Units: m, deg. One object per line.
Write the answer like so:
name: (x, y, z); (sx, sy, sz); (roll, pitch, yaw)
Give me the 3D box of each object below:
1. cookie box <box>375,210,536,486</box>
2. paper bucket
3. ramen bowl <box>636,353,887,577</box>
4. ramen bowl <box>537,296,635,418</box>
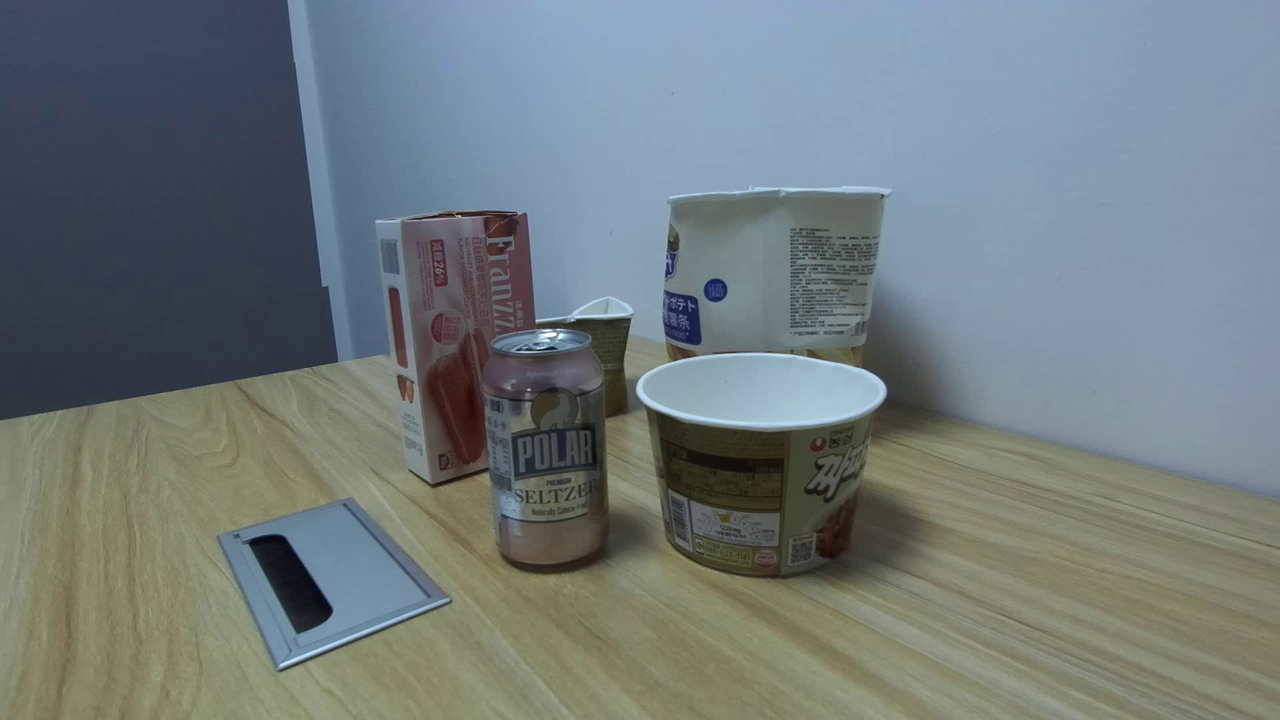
cookie box: (-0.123, -0.014, 0.521); (0.105, 0.187, 0.048); (-13, 17, -37)
paper bucket: (0.101, -0.041, 0.581); (0.169, 0.202, 0.162); (1, 14, -1)
ramen bowl: (0.068, 0.057, 0.412); (0.140, 0.095, 0.140); (-2, 14, 1)
ramen bowl: (-0.074, -0.003, 0.655); (0.129, 0.093, 0.111); (-5, 15, -17)
